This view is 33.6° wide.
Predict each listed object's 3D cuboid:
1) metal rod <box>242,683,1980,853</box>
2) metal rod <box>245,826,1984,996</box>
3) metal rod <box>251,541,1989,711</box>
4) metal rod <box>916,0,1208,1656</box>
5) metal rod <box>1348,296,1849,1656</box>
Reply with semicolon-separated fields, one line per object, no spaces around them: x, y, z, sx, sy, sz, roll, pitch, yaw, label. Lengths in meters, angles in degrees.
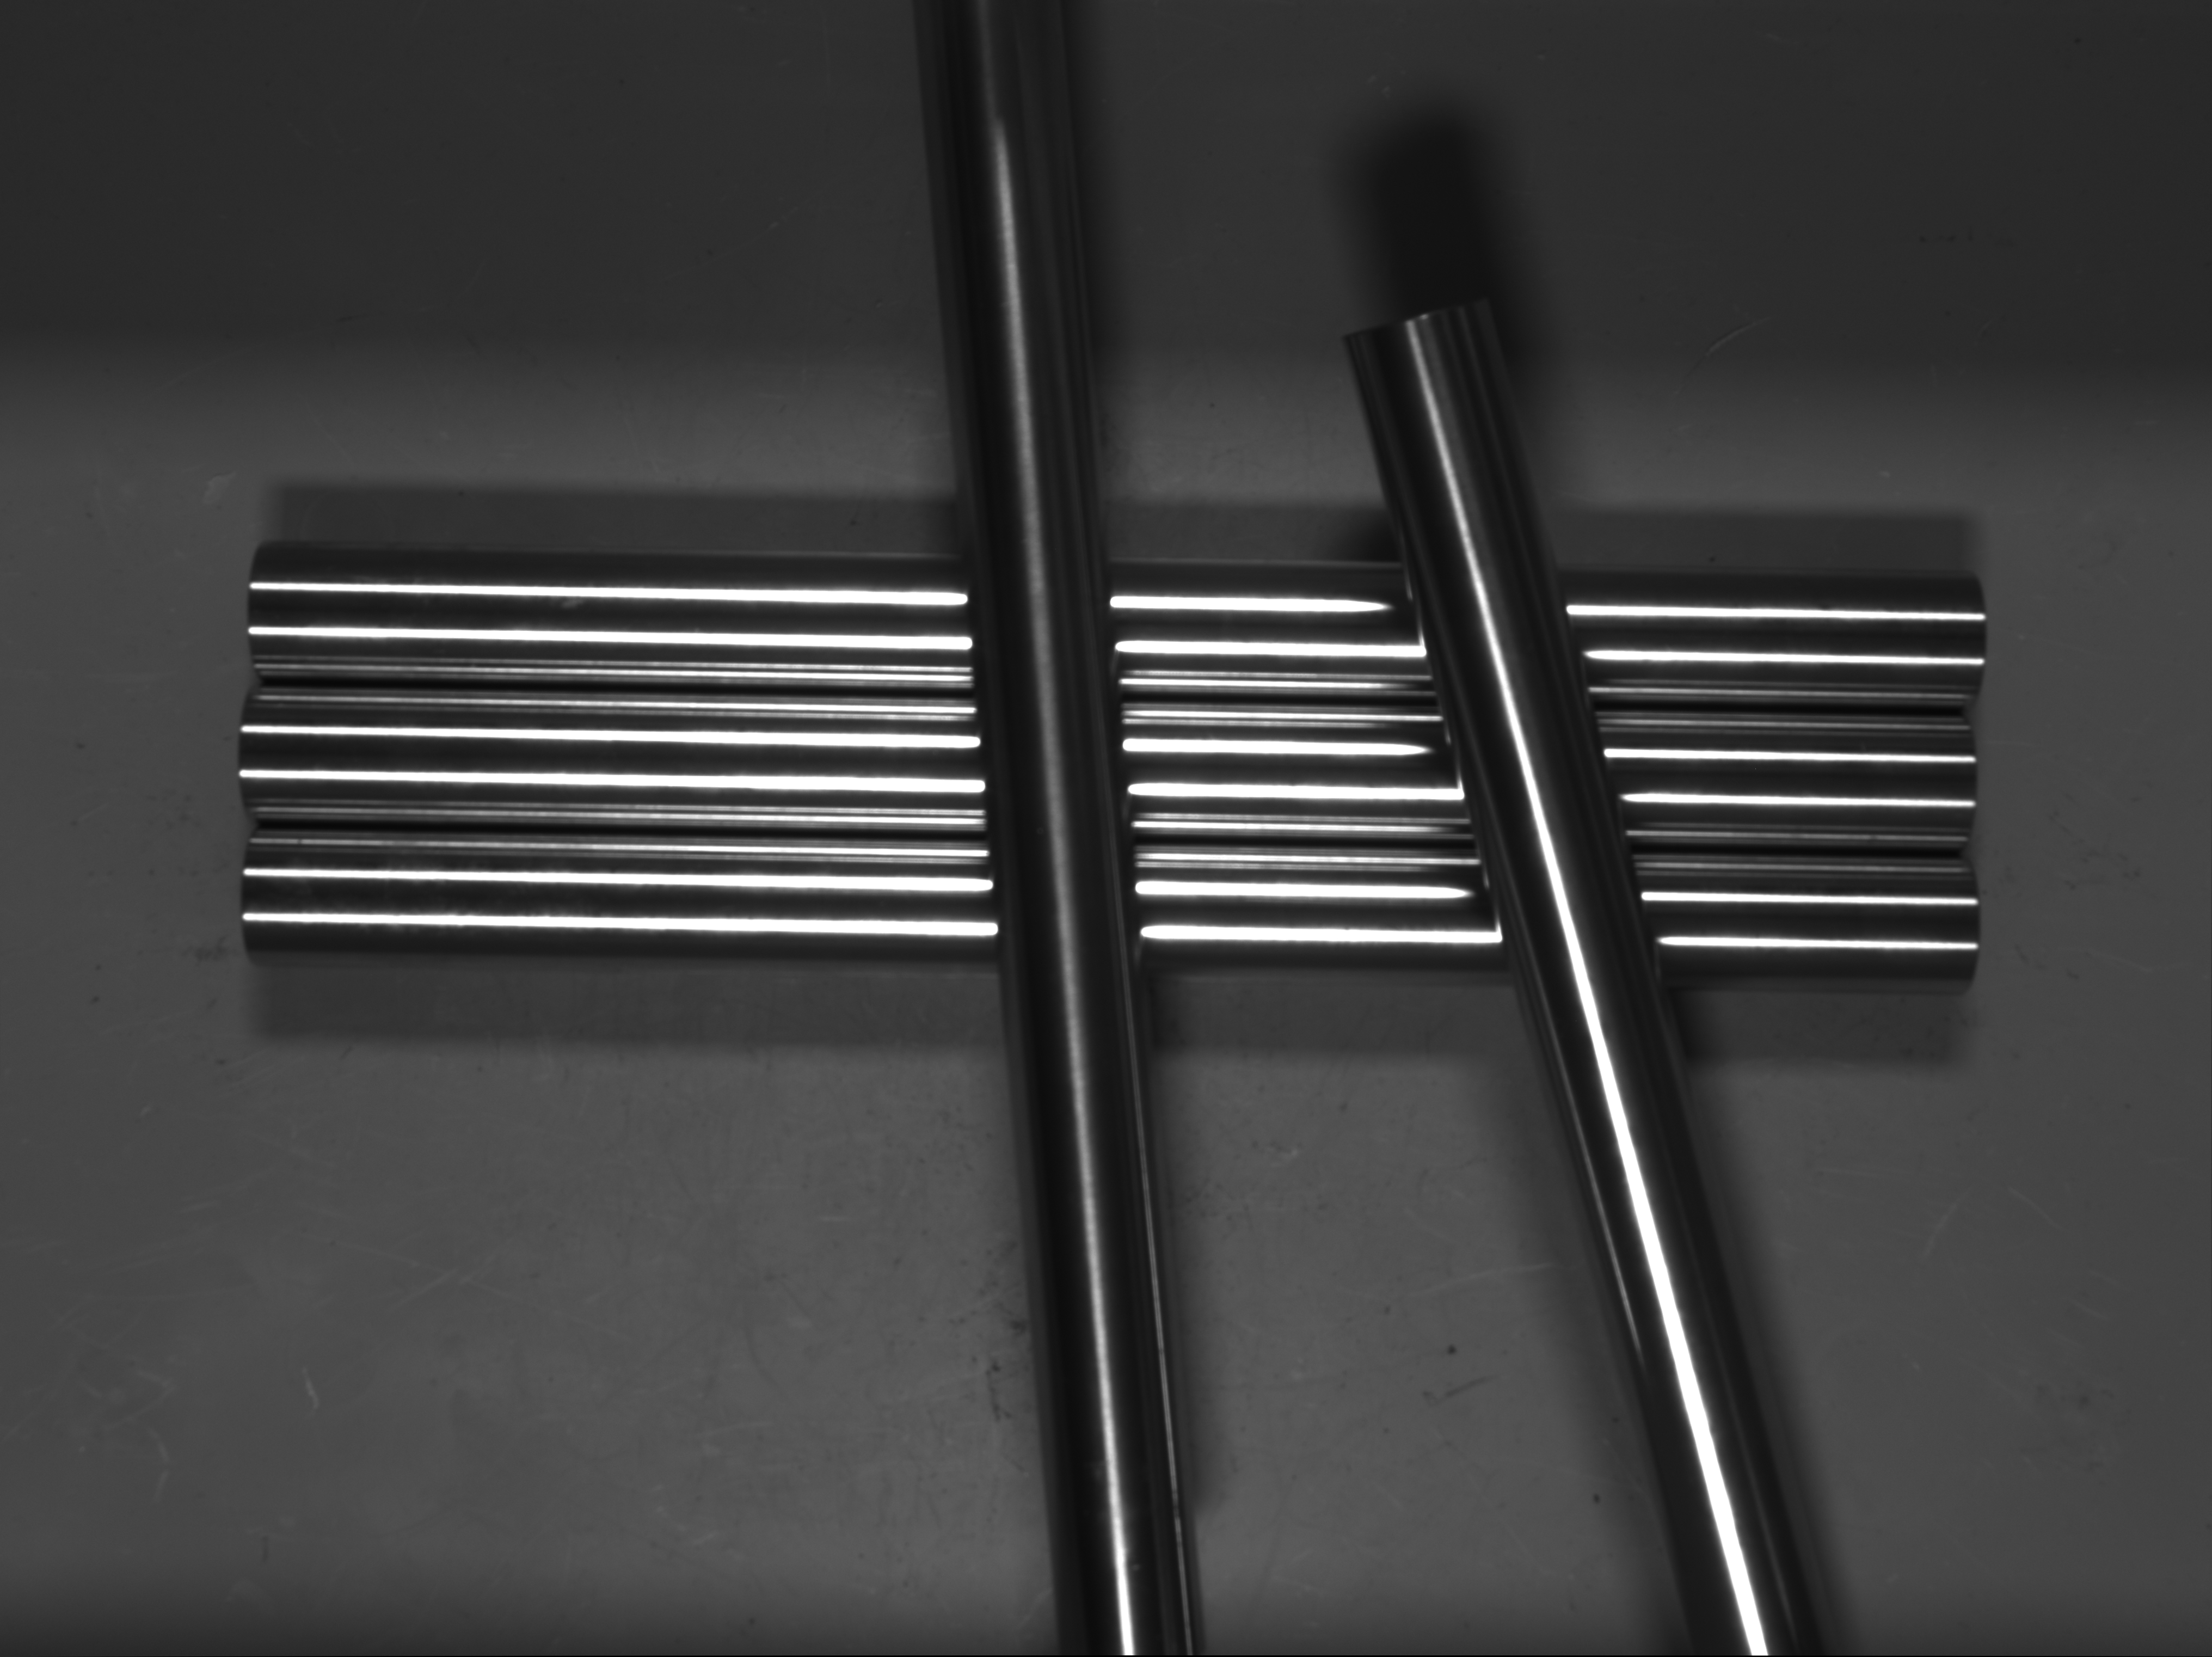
0.001;-0.011;0.644;0.300;0.025;0.025;1;90;-1;metal rod
0.002;0.014;0.644;0.300;0.025;0.025;1;90;-1;metal rod
0.003;-0.035;0.644;0.300;0.025;0.025;1;90;-1;metal rod
-0.008;-0.009;0.619;0.025;0.025;0.300;-5;90;0;metal rod
0.092;0.059;0.625;0.025;0.025;0.300;-16;97;0;metal rod
